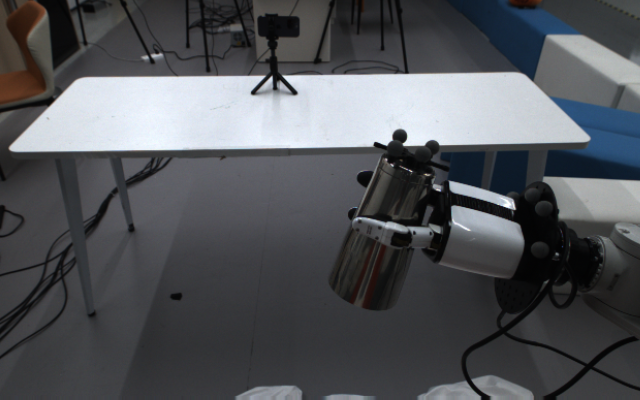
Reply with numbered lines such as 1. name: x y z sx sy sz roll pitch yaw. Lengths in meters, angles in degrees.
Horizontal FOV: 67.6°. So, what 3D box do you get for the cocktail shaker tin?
1. cocktail shaker tin: 0.079 0.034 0.578 0.093 0.170 0.093 15 21 -6
